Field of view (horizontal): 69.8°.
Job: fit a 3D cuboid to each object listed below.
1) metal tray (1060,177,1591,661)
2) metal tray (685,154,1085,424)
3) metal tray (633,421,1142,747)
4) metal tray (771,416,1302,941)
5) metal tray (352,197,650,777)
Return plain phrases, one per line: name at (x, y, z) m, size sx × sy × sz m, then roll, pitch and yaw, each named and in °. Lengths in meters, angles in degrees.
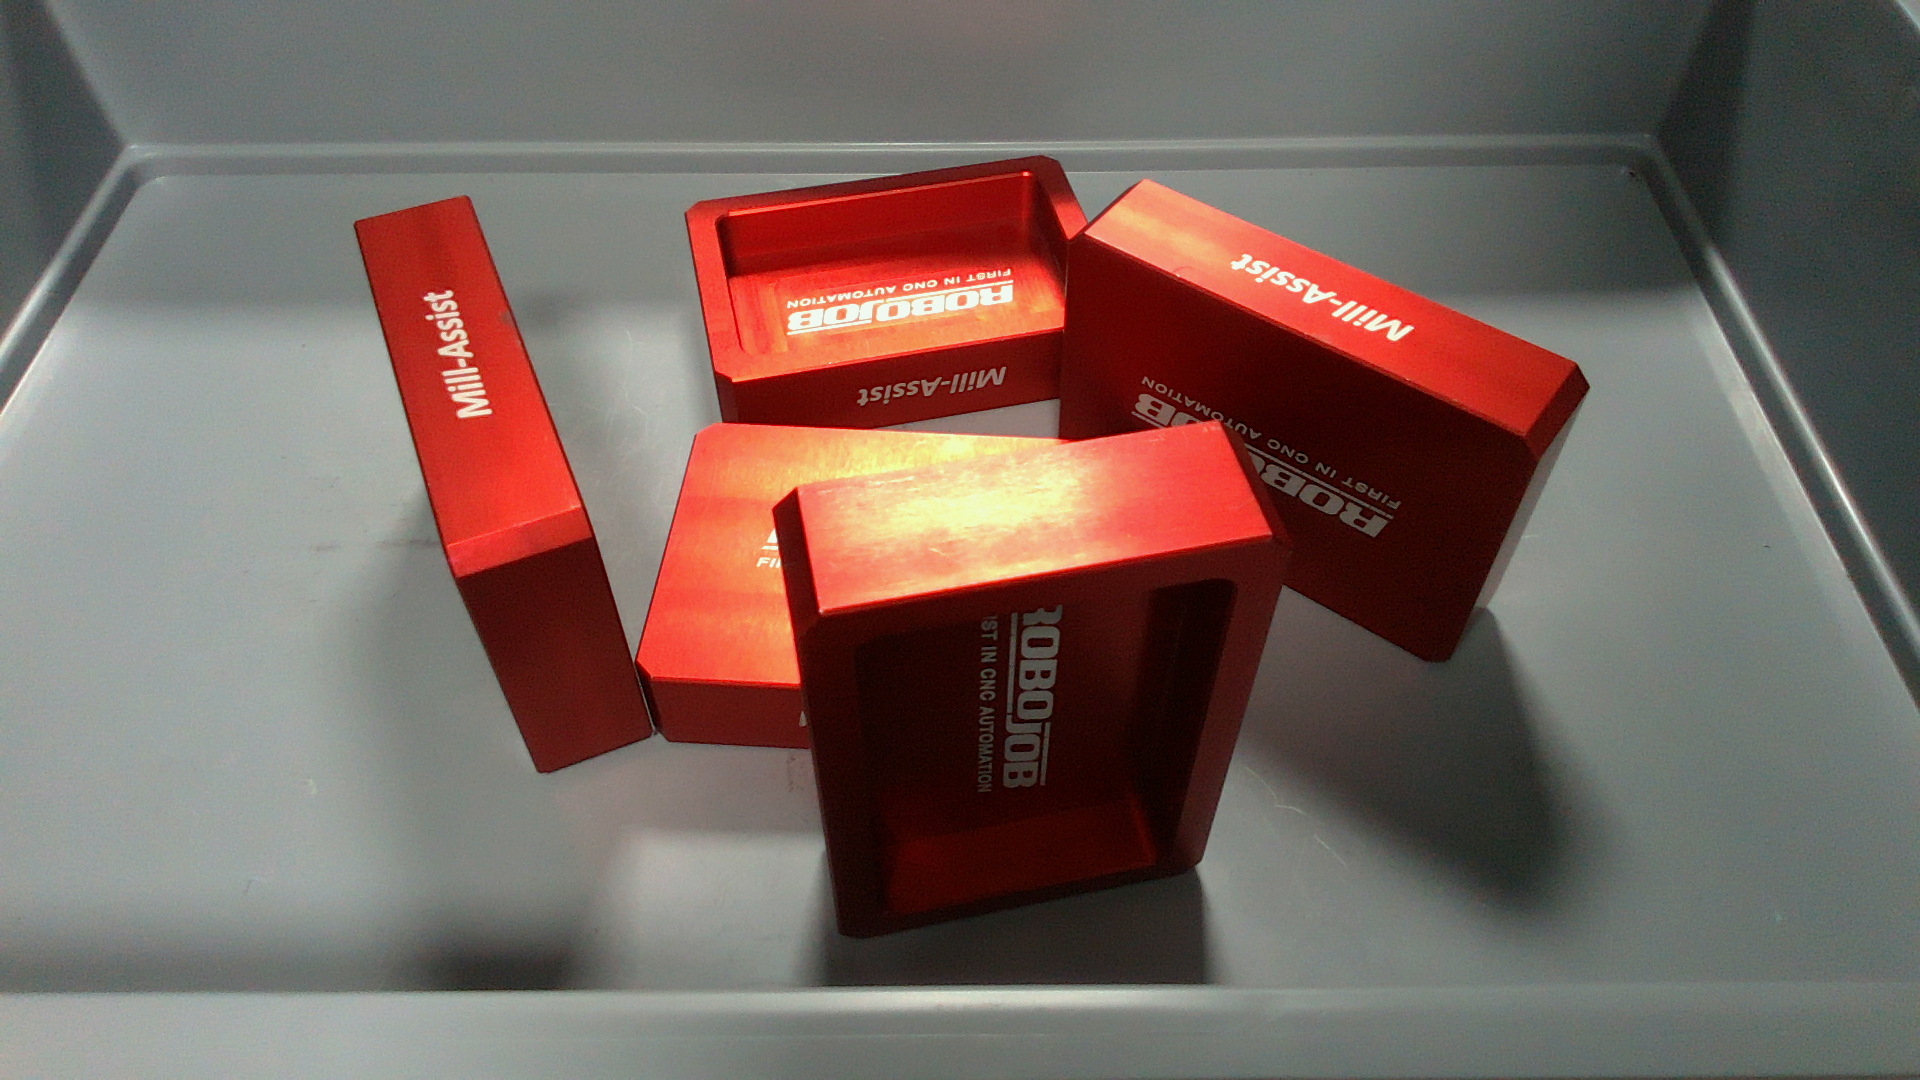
metal tray at (0.089, -0.032, 0.373) m, size 0.130 × 0.090 × 0.030 m, roll 31°, pitch 57°, yaw 23°
metal tray at (-0.019, -0.082, 0.456) m, size 0.130 × 0.030 × 0.090 m, roll -10°, pitch 51°, yaw -9°
metal tray at (-0.014, 0.012, 0.375) m, size 0.130 × 0.030 × 0.090 m, roll 3°, pitch 50°, yaw 2°
metal tray at (0.013, 0.036, 0.290) m, size 0.090 × 0.130 × 0.030 m, roll -10°, pitch 51°, yaw -8°
metal tray at (-0.120, -0.016, 0.360) m, size 0.030 × 0.090 × 0.130 m, roll -19°, pitch 53°, yaw -16°
